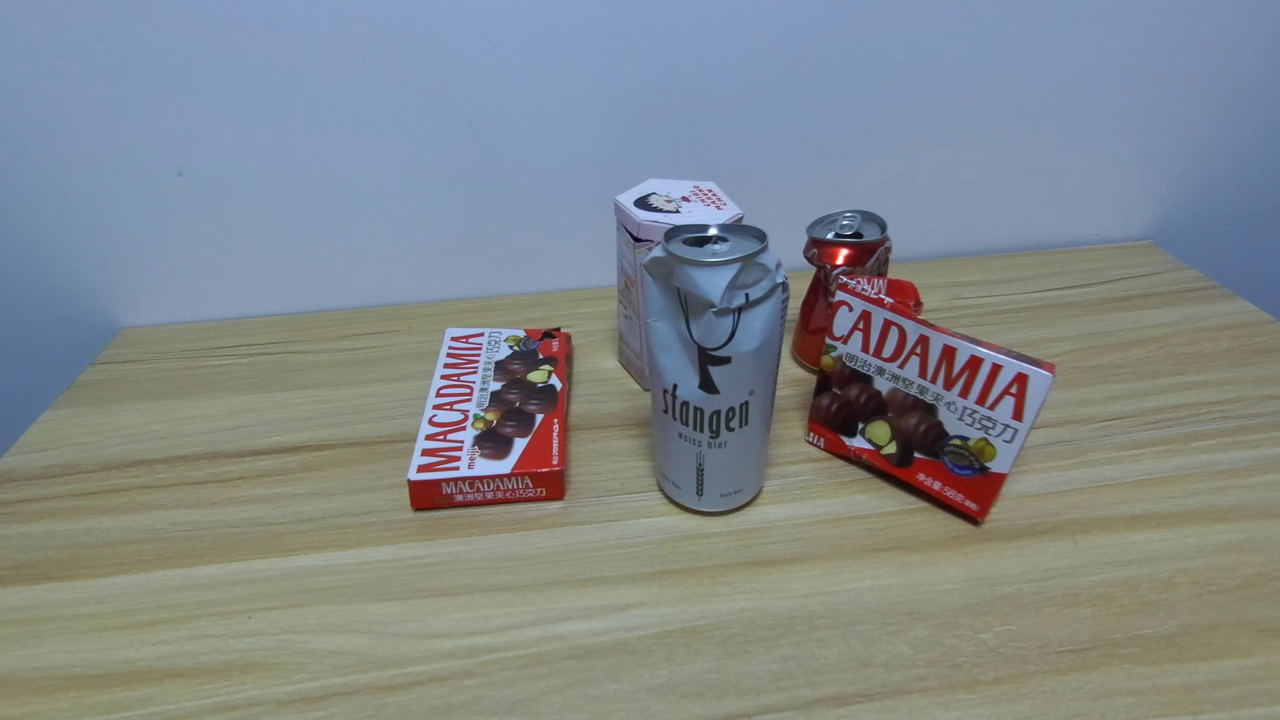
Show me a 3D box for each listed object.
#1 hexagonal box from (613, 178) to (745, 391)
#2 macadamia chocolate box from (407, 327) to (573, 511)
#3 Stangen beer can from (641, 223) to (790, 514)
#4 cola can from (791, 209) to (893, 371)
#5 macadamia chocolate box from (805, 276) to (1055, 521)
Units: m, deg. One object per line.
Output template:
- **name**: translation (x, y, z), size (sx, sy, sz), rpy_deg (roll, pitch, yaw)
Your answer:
- **hexagonal box**: translation (0.025, -0.053, 0.512), size (0.085, 0.135, 0.091), rpy_deg (-15, 36, -19)
- **macadamia chocolate box**: translation (-0.098, 0.028, 0.503), size (0.103, 0.027, 0.186), rpy_deg (-3, 35, -5)
- **Stangen beer can**: translation (0.041, 0.008, 0.396), size (0.066, 0.166, 0.065), rpy_deg (-24, 38, -30)
- **cola can**: translation (0.148, -0.048, 0.518), size (0.069, 0.112, 0.065), rpy_deg (-20, 37, -22)
- **macadamia chocolate box**: translation (0.167, 0.019, 0.419), size (0.056, 0.112, 0.126), rpy_deg (-28, 42, -36)
